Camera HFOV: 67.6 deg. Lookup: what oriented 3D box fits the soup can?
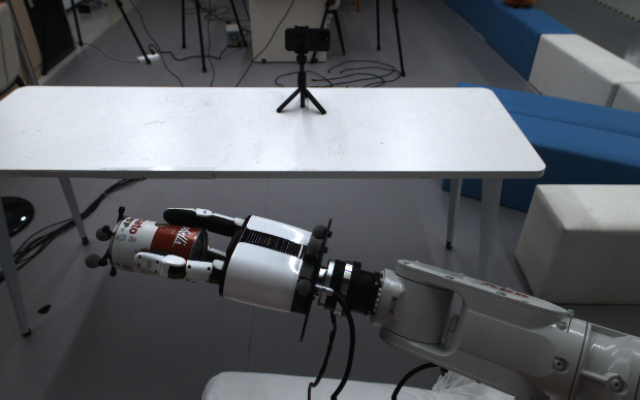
[{"bbox_3d":[-0.198,0.063,0.605,0.101,0.067,0.067,9,35,2],"label":"soup can"}]
